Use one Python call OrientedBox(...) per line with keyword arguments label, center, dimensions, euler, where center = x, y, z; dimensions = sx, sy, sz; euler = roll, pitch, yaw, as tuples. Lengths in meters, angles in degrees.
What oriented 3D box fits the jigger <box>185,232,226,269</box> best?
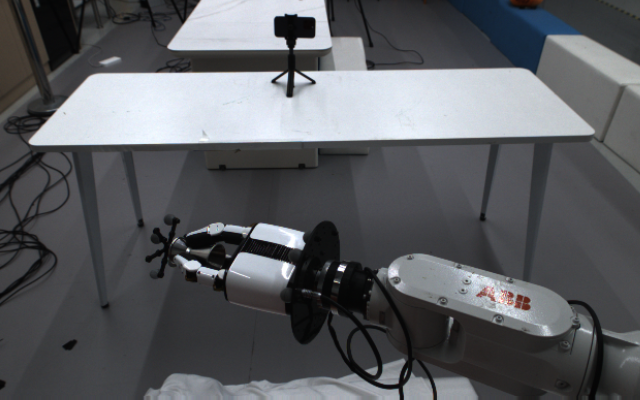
OrientedBox(label="jigger", center=(-0.169, 0.076, 0.686), dimensions=(0.071, 0.043, 0.043), euler=(10, 35, 21))
